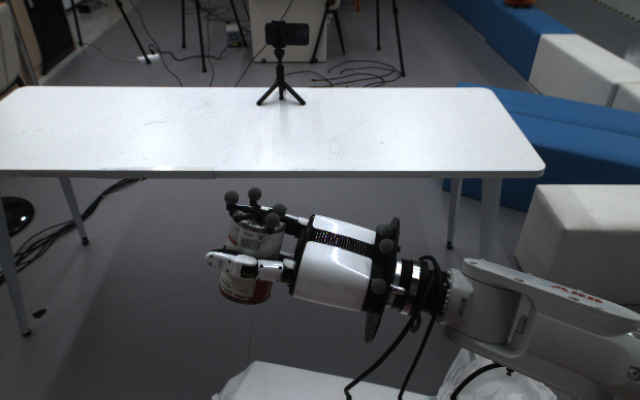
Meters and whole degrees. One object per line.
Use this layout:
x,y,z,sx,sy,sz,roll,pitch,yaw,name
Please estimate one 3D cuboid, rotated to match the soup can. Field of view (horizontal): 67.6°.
-0.083,0.070,0.601,0.067,0.101,0.067,13,18,-4,soup can
